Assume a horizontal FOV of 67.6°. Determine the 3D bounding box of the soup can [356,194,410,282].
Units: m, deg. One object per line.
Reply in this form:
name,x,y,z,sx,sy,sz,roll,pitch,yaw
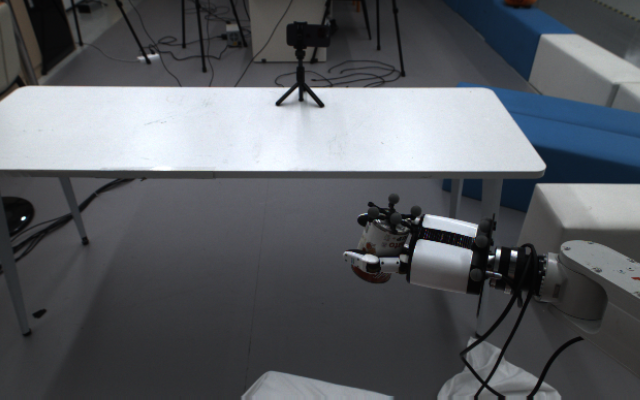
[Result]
soup can,0.096,0.073,0.759,0.067,0.101,0.067,13,30,-8
